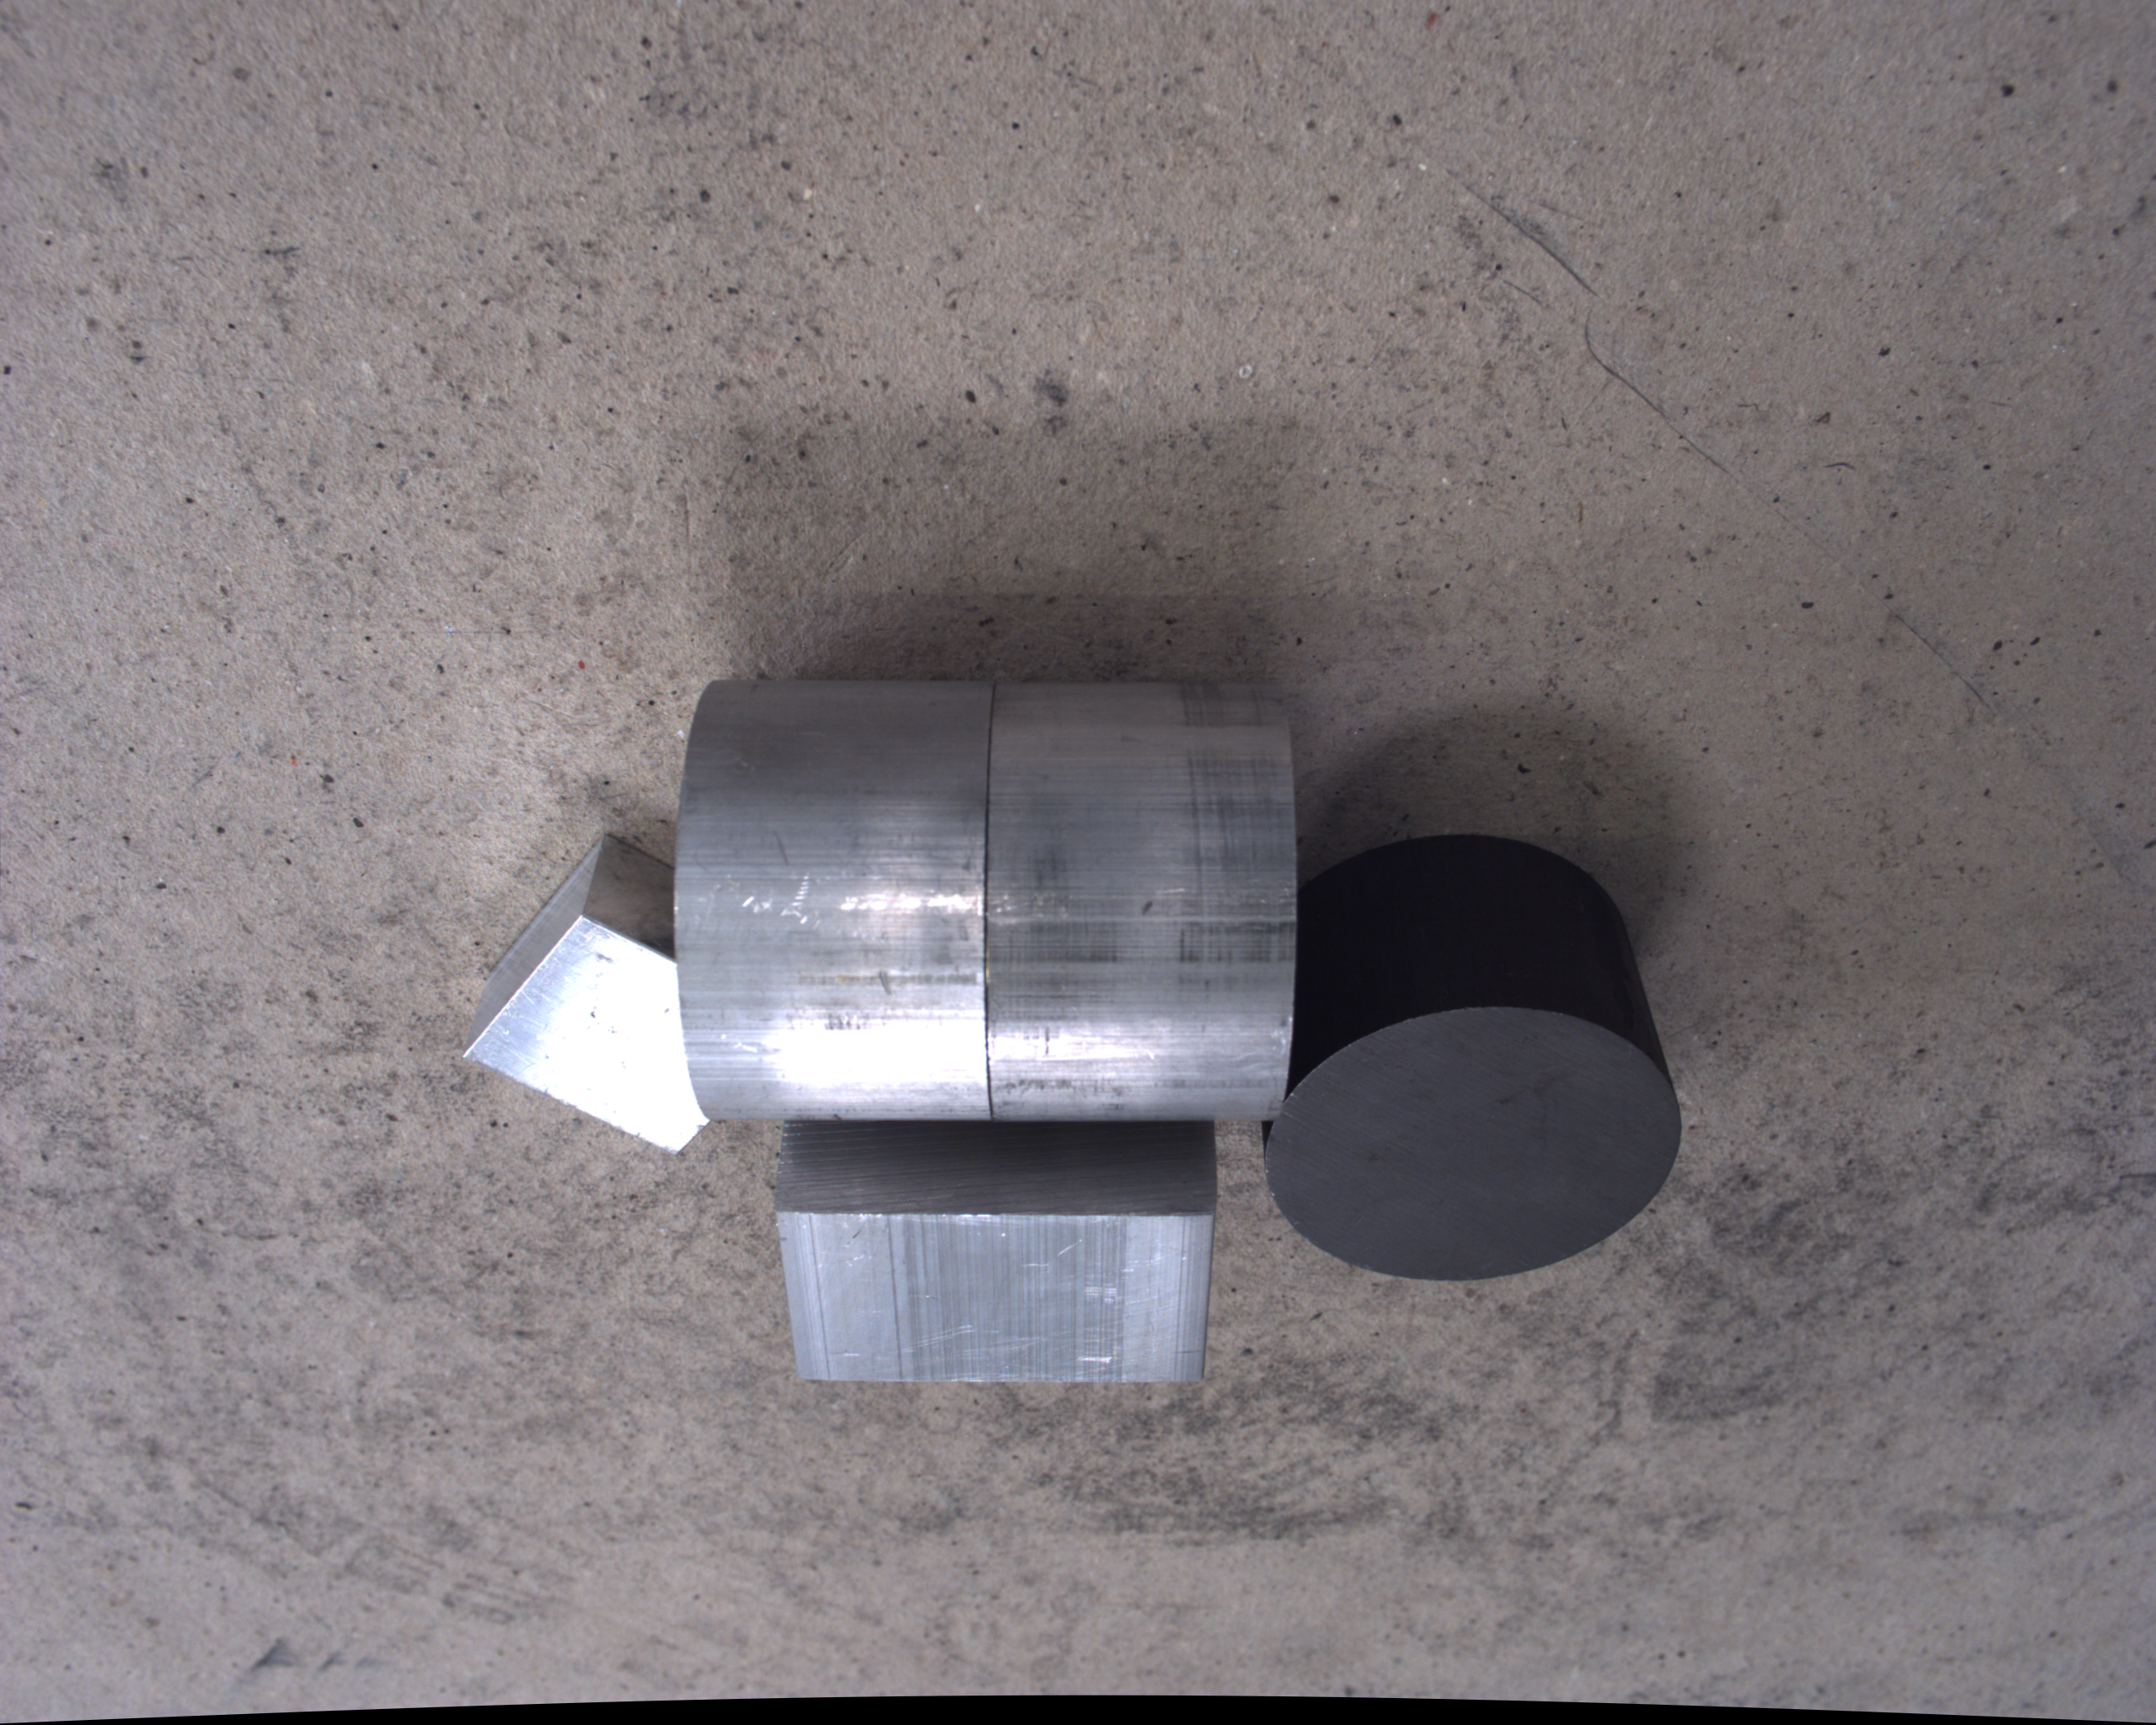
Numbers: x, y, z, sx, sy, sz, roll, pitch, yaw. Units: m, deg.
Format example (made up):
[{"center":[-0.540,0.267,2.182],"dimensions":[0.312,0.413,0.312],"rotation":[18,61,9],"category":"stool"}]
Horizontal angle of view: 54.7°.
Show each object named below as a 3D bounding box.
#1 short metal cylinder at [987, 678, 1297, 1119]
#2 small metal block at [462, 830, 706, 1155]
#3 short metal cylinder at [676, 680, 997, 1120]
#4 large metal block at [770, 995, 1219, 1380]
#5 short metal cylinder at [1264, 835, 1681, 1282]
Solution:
[{"center":[0.010,0.006,0.379],"dimensions":[0.050,0.080,0.079],"rotation":[1,130,-1],"category":"short metal cylinder"},{"center":[-0.090,0.028,0.432],"dimensions":[0.050,0.025,0.050],"rotation":[30,124,-24],"category":"small metal block"},{"center":[-0.040,0.007,0.379],"dimensions":[0.050,0.080,0.079],"rotation":[1,130,-1],"category":"short metal cylinder"},{"center":[-0.015,0.056,0.421],"dimensions":[0.081,0.080,0.050],"rotation":[1,130,-1],"category":"large metal block"},{"center":[0.077,0.041,0.427],"dimensions":[0.081,0.050,0.079],"rotation":[0,130,0],"category":"short metal cylinder"}]
